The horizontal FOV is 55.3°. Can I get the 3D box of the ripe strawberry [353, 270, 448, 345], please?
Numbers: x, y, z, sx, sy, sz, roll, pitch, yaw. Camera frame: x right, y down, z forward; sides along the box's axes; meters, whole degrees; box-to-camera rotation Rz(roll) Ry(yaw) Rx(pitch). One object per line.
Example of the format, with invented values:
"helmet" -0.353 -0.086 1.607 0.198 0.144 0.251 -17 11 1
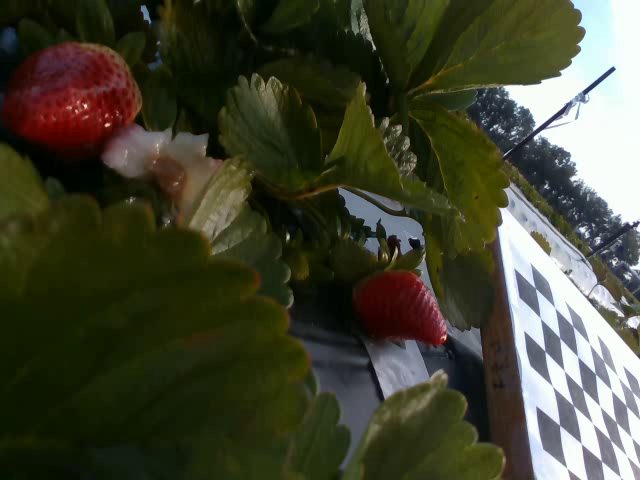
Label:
"ripe strawberry" 0.041 0.031 0.259 0.035 0.055 0.050 -36 -53 14
